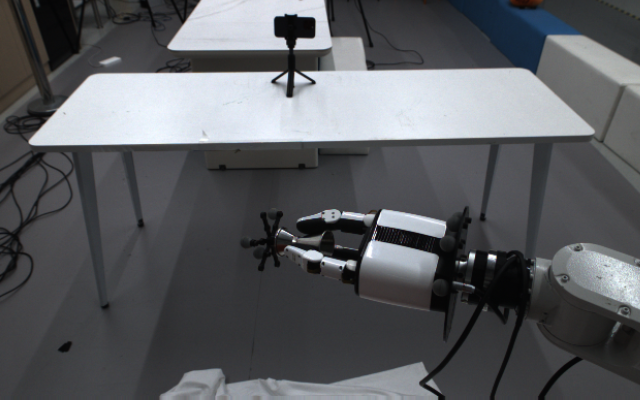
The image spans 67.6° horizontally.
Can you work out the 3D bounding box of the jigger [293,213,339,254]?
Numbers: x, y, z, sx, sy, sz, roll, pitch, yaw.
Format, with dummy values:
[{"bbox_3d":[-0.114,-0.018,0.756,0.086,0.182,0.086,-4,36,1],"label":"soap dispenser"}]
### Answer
[{"bbox_3d":[-0.013,0.051,0.632,0.071,0.043,0.043,3,32,26],"label":"jigger"}]
